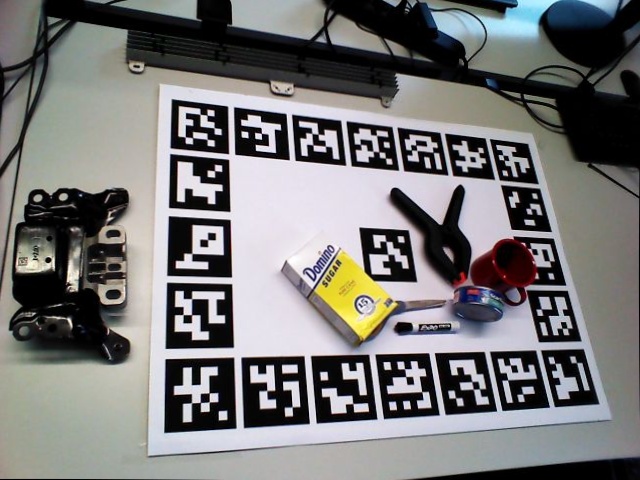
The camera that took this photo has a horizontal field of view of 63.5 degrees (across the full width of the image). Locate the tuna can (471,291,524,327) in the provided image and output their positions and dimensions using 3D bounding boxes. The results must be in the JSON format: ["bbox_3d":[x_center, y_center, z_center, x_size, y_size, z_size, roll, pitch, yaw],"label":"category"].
[{"bbox_3d":[0.307,0.121,0.897,0.086,0.086,0.033,19,64,-11],"label":"tuna can"}]

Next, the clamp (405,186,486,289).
[{"bbox_3d":[0.257,-0.002,0.968,0.165,0.037,0.202,-7,73,-22],"label":"clamp"}]

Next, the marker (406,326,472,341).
[{"bbox_3d":[0.202,0.160,0.883,0.121,0.020,0.019,-1,70,-19],"label":"marker"}]

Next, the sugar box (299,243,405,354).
[{"bbox_3d":[0.059,0.086,0.842,0.092,0.045,0.176,-36,78,-28],"label":"sugar box"}]

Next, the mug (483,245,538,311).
[{"bbox_3d":[0.358,0.077,0.938,0.093,0.082,0.117,-25,76,-26],"label":"mug"}]

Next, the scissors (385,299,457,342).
[{"bbox_3d":[0.157,0.118,0.881,0.202,0.016,0.087,-7,68,-23],"label":"scissors"}]
